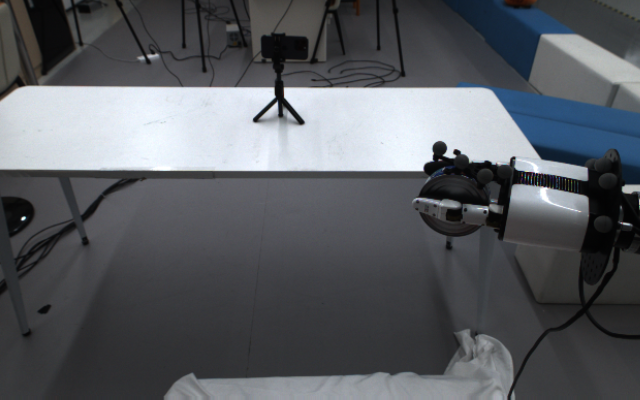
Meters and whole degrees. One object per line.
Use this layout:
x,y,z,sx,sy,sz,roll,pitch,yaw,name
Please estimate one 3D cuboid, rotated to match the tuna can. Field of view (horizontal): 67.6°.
0.171,0.000,0.609,0.085,0.085,0.034,15,28,19,tuna can
